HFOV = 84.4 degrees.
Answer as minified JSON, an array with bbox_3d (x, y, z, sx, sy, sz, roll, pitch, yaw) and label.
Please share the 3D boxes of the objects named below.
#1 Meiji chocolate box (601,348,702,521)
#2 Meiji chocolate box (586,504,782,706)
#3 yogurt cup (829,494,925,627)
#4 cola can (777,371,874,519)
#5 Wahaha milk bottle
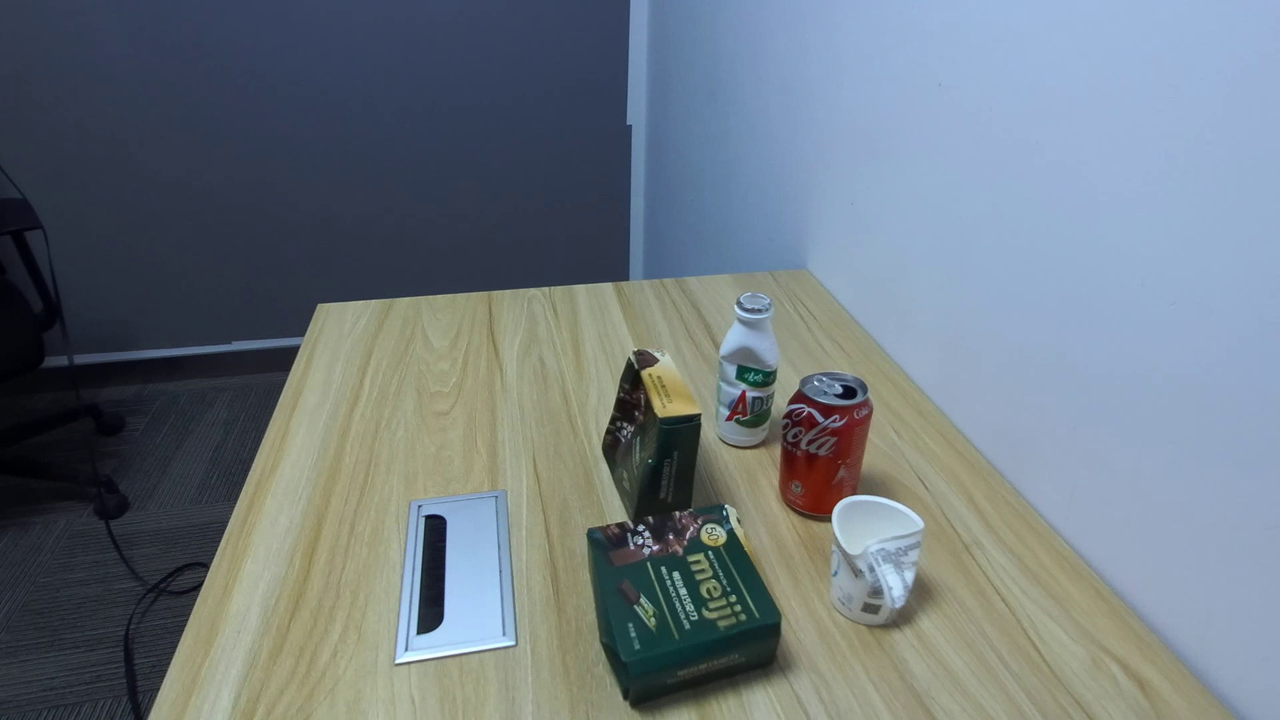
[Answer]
[{"bbox_3d":[0.011,0.064,0.597,0.052,0.117,0.117,-1,31,-18],"label":"Meiji chocolate box"},{"bbox_3d":[0.028,0.166,0.492,0.123,0.058,0.115,-8,36,-13],"label":"Meiji chocolate box"},{"bbox_3d":[0.166,0.146,0.511,0.067,0.070,0.067,-1,31,1],"label":"yogurt cup"},{"bbox_3d":[0.153,0.071,0.585,0.072,0.117,0.065,-10,34,-18],"label":"cola can"},{"bbox_3d":[0.099,0.010,0.649,0.056,0.148,0.056,1,34,0],"label":"Wahaha milk bottle"}]
